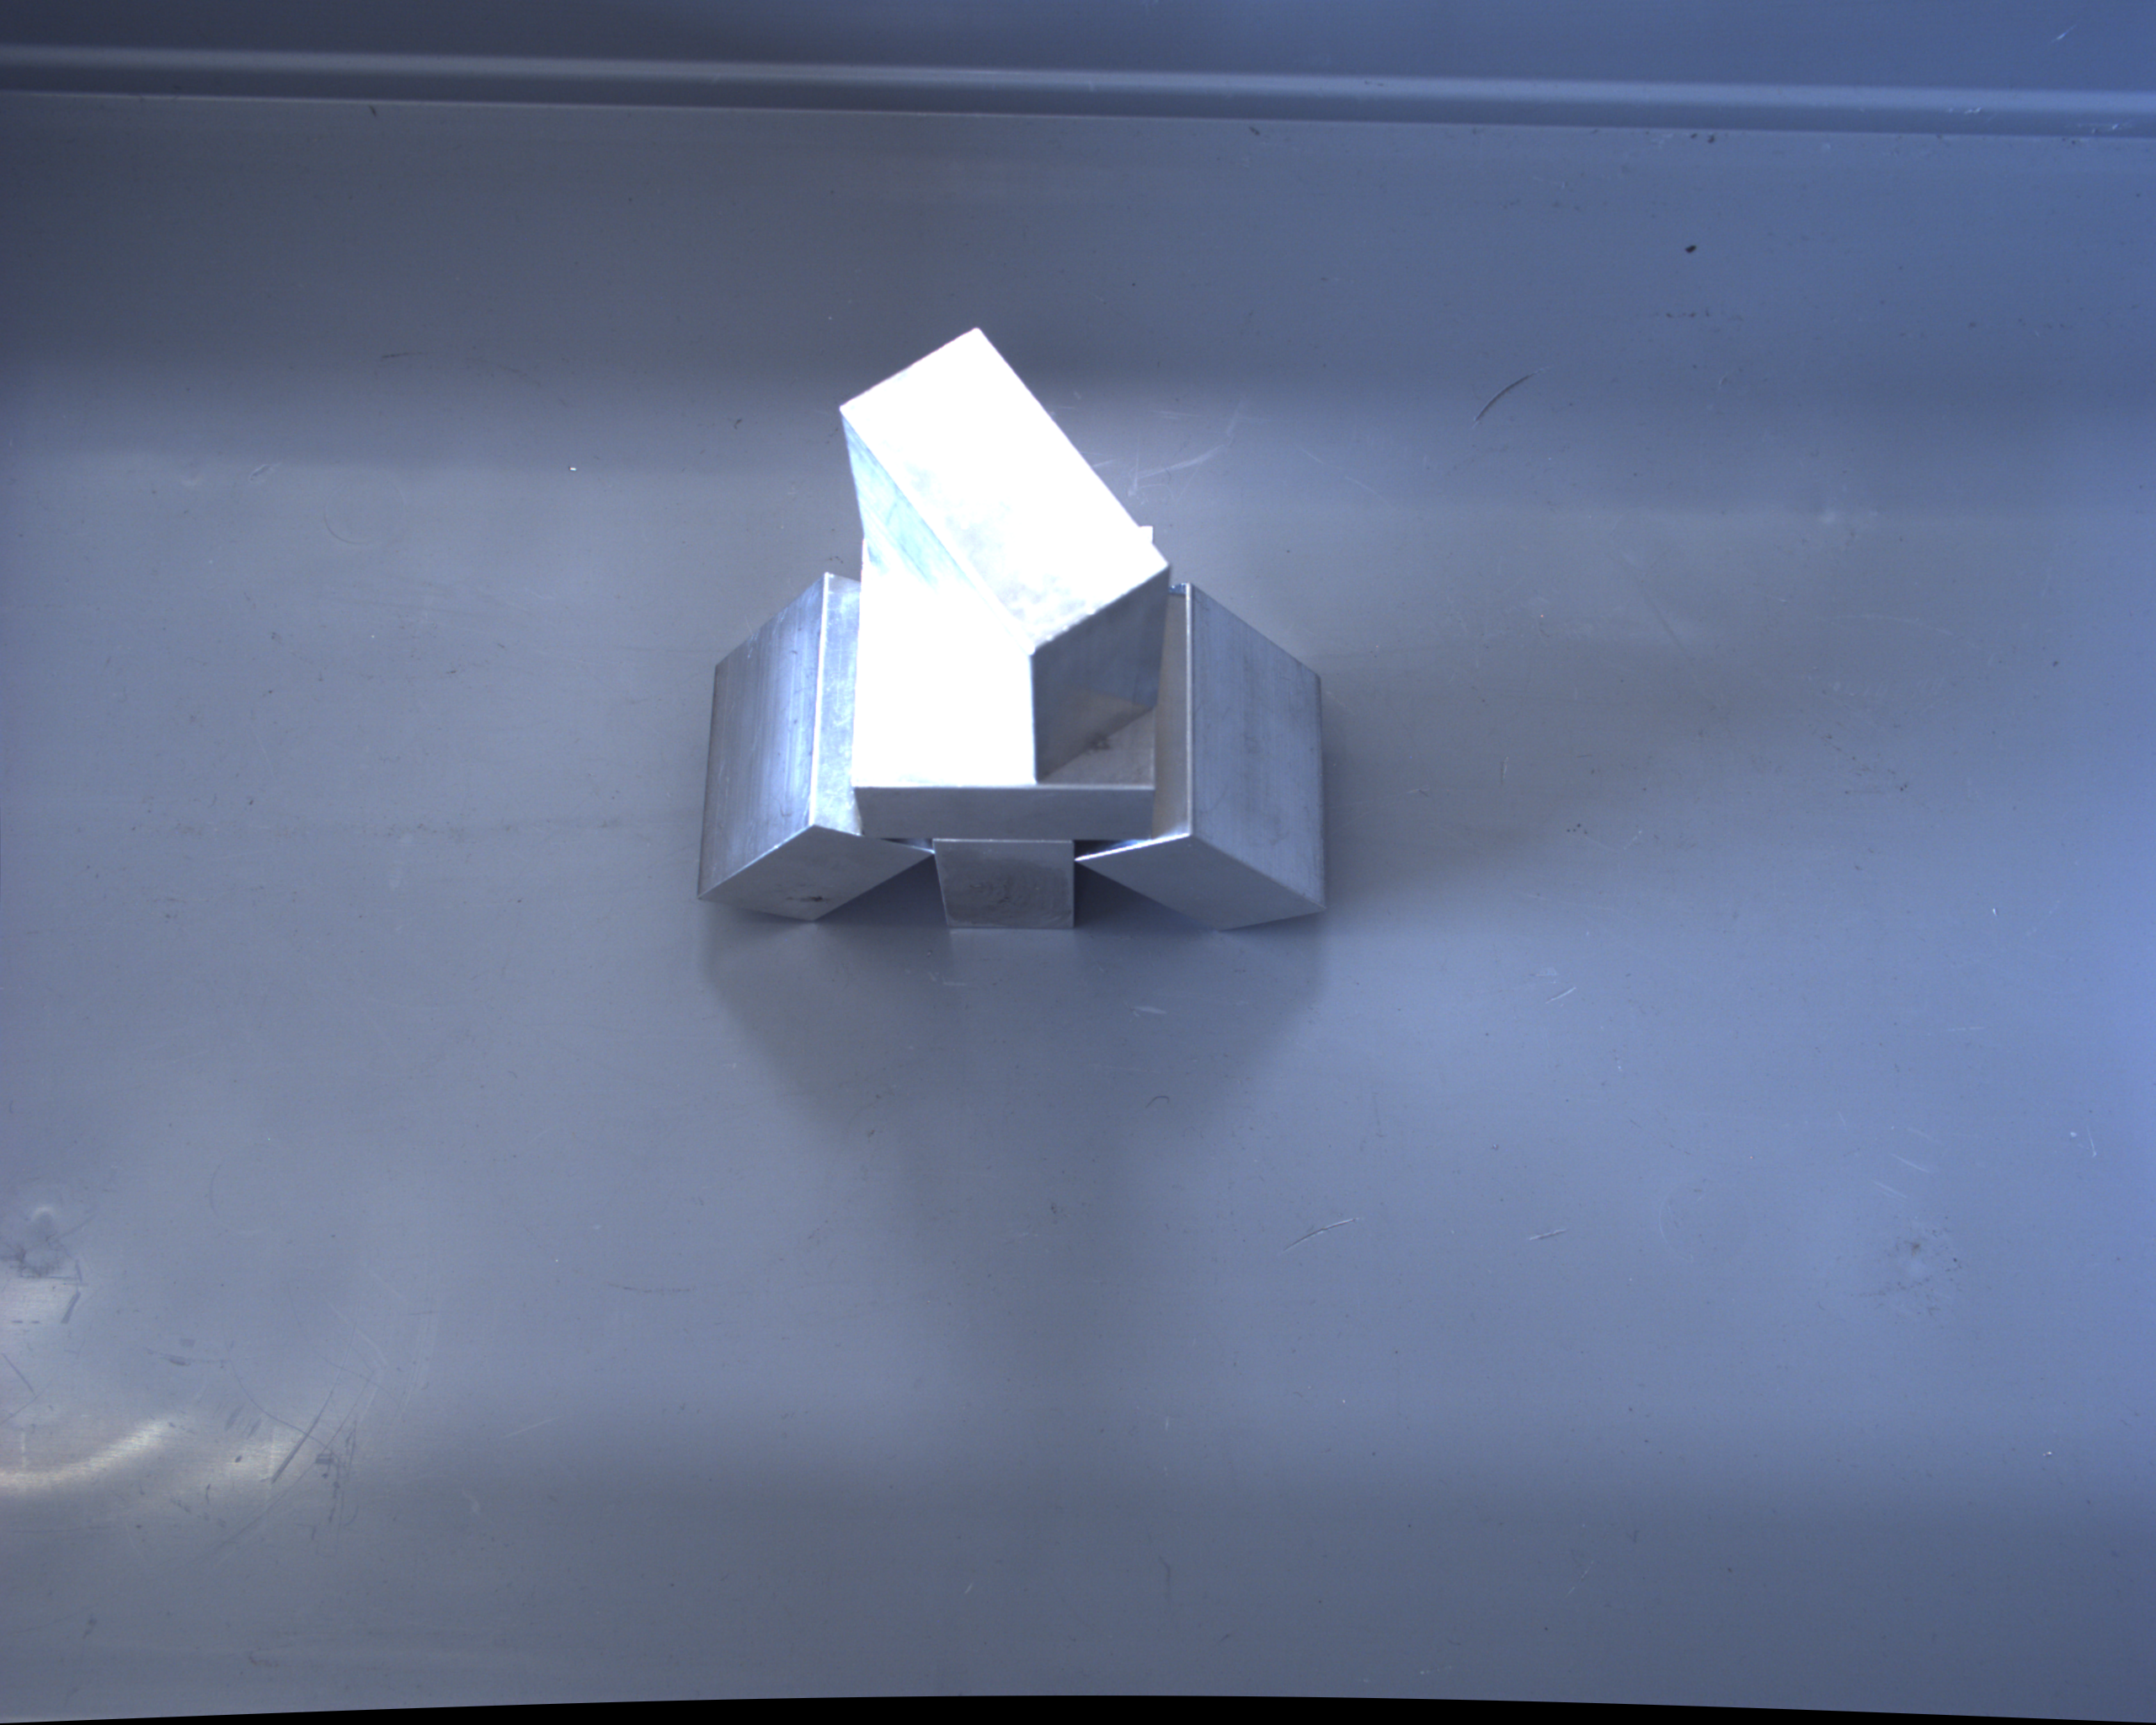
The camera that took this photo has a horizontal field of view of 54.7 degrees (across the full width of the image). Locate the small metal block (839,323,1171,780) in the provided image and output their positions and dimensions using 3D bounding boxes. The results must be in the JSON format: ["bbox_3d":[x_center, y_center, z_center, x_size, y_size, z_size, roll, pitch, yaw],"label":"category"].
[{"bbox_3d":[-0.011,-0.048,0.331,0.025,0.050,0.050,-34,73,-11],"label":"small metal block"}]

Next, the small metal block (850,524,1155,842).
[{"bbox_3d":[-0.012,-0.032,0.365,0.050,0.025,0.050,1,70,0],"label":"small metal block"}]

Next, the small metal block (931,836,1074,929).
[{"bbox_3d":[-0.013,-0.019,0.401,0.025,0.050,0.050,1,70,0],"label":"small metal block"}]

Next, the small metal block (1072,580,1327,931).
[{"bbox_3d":[0.024,-0.019,0.399,0.025,0.050,0.050,-13,66,32],"label":"small metal block"}]

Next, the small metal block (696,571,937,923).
[{"bbox_3d":[-0.049,-0.021,0.398,0.025,0.050,0.050,13,66,-31],"label":"small metal block"}]
